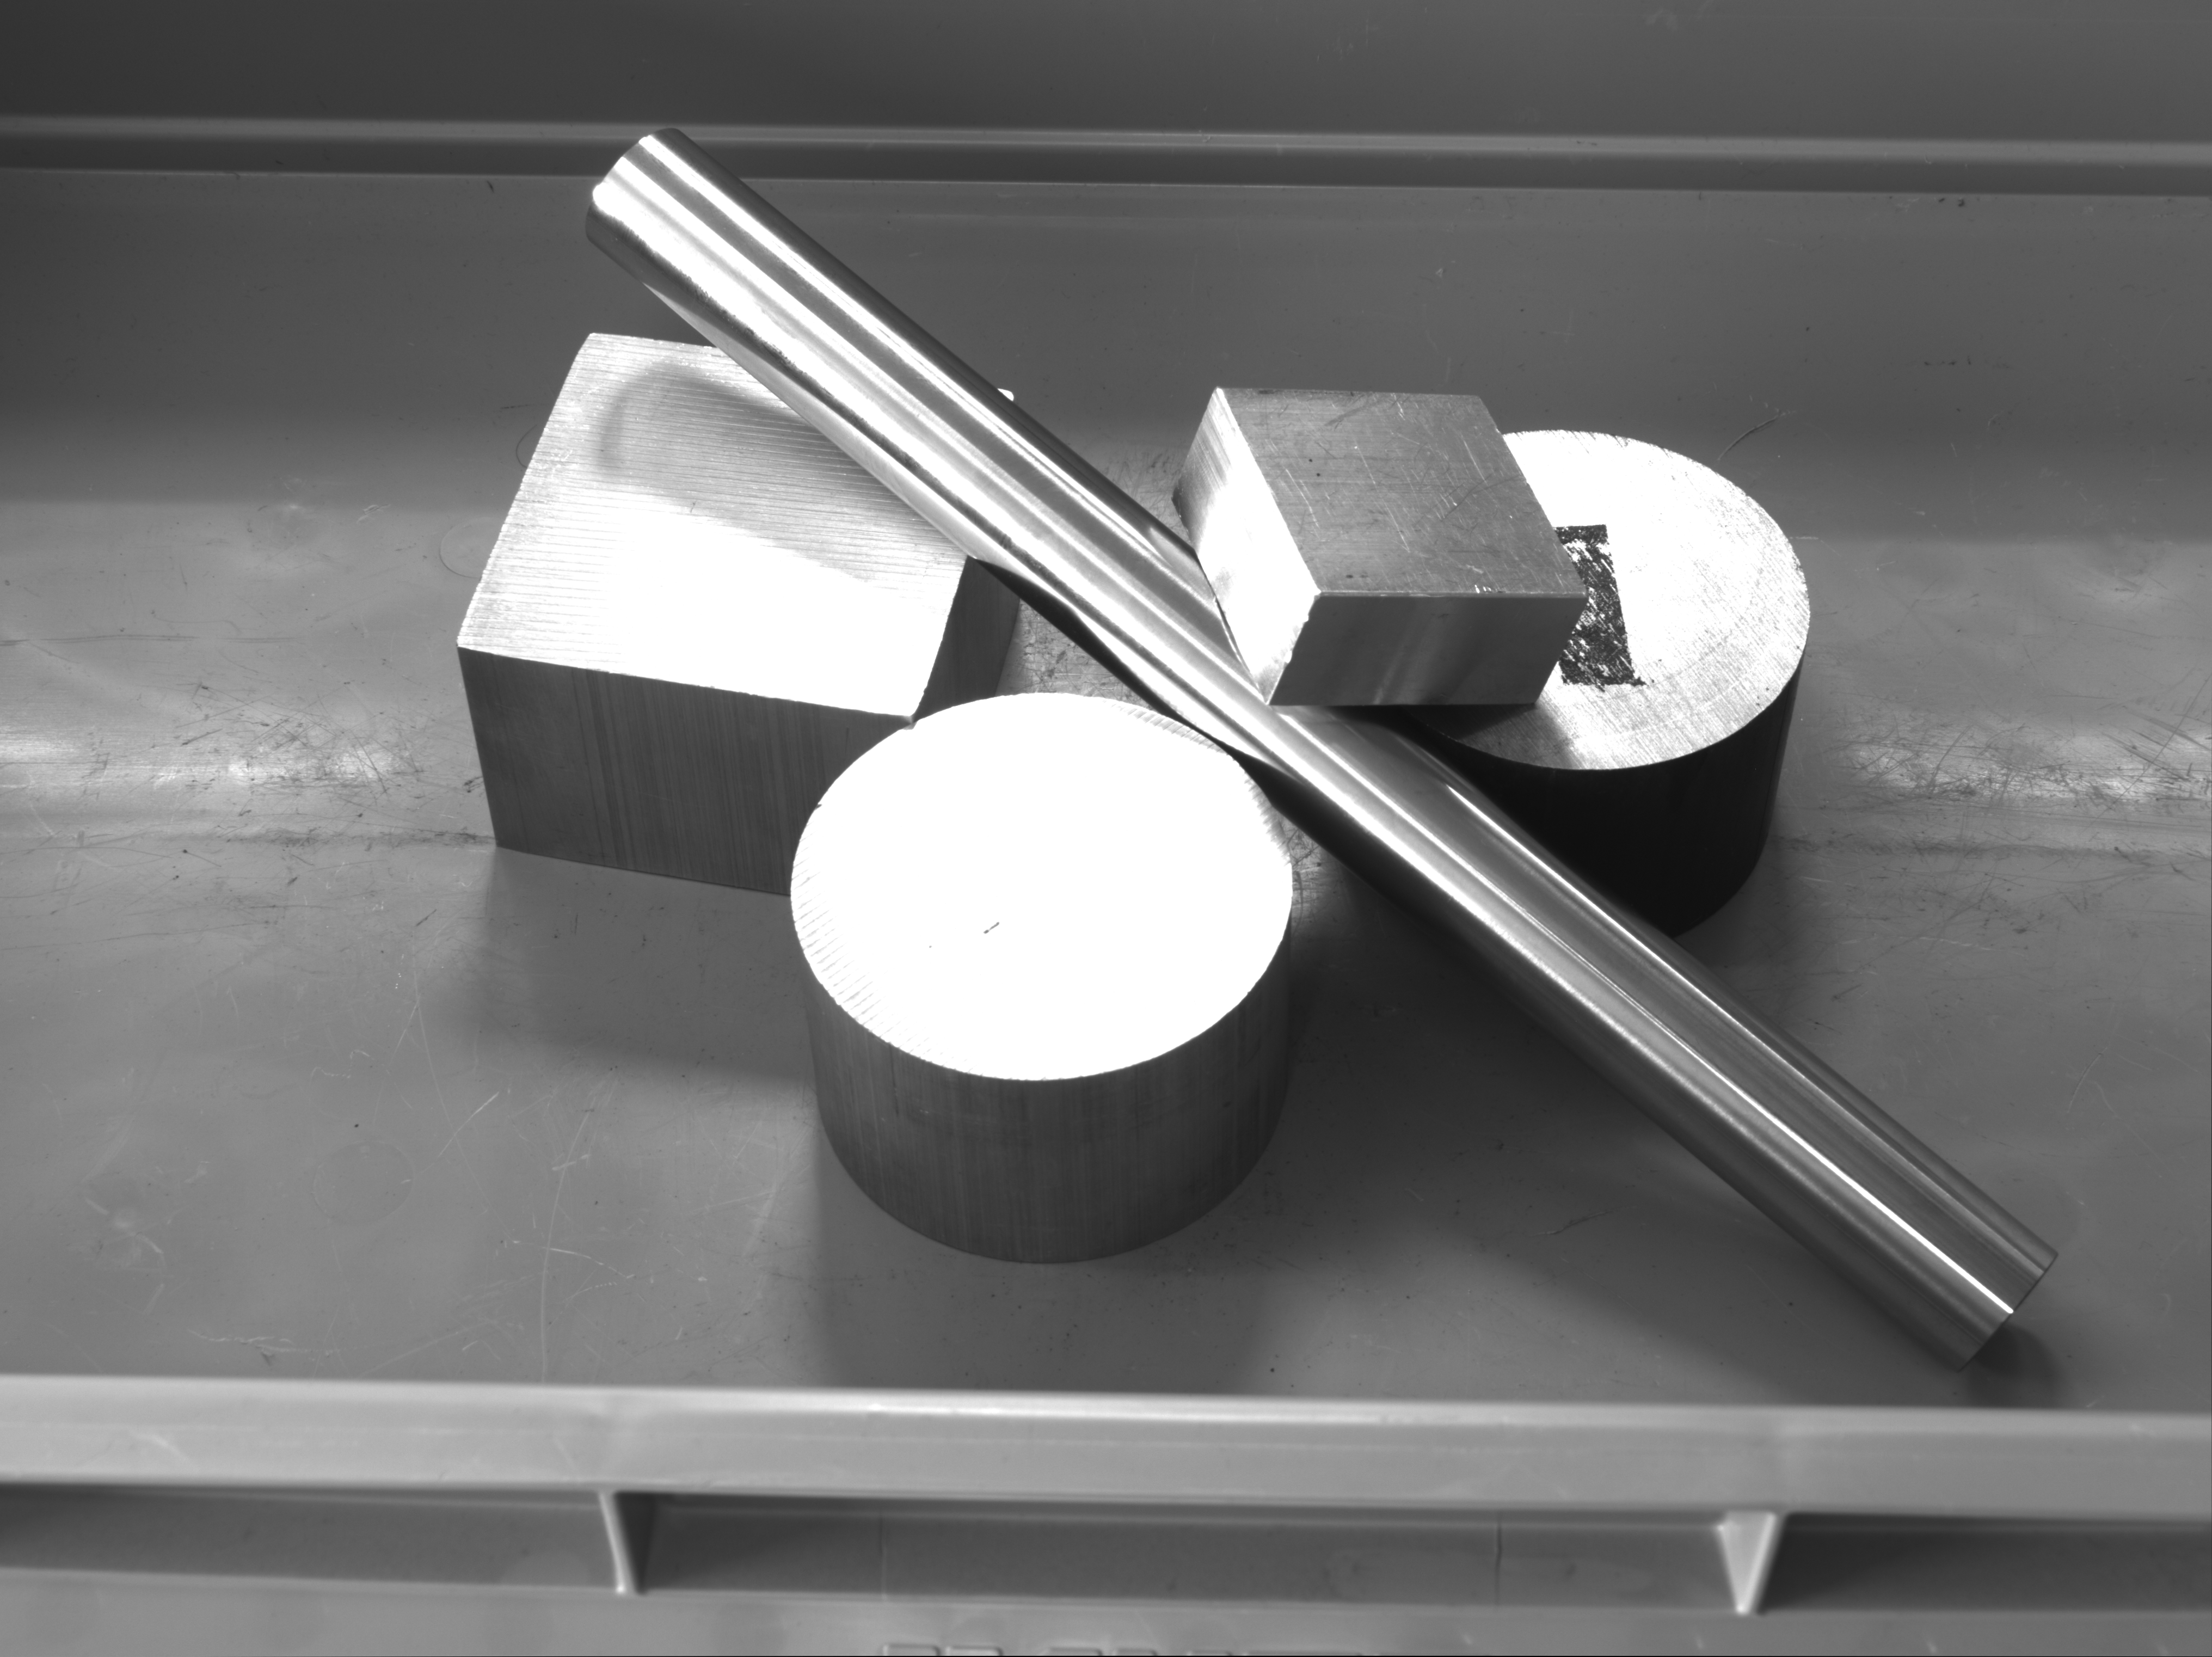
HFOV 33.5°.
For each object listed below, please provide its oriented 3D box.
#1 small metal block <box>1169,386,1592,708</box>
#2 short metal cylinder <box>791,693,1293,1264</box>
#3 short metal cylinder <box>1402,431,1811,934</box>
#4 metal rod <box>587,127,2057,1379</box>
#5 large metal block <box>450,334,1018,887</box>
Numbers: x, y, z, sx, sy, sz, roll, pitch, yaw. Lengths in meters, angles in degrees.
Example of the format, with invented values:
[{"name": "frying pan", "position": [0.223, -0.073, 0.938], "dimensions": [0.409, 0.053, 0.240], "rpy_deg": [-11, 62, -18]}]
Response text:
[{"name": "small metal block", "position": [0.044, -0.047, 0.606], "dimensions": [0.050, 0.025, 0.050], "rpy_deg": [-2, 47, -25]}, {"name": "short metal cylinder", "position": [-0.010, 0.024, 0.604], "dimensions": [0.080, 0.050, 0.080], "rpy_deg": [0, 50, 0]}, {"name": "short metal cylinder", "position": [0.080, -0.024, 0.645], "dimensions": [0.080, 0.050, 0.080], "rpy_deg": [0, 50, 0]}, {"name": "metal rod", "position": [0.030, -0.018, 0.610], "dimensions": [0.300, 0.025, 0.025], "rpy_deg": [40, 60, 12]}, {"name": "large metal block", "position": [-0.063, -0.038, 0.654], "dimensions": [0.080, 0.050, 0.080], "rpy_deg": [9, 50, 7]}]
